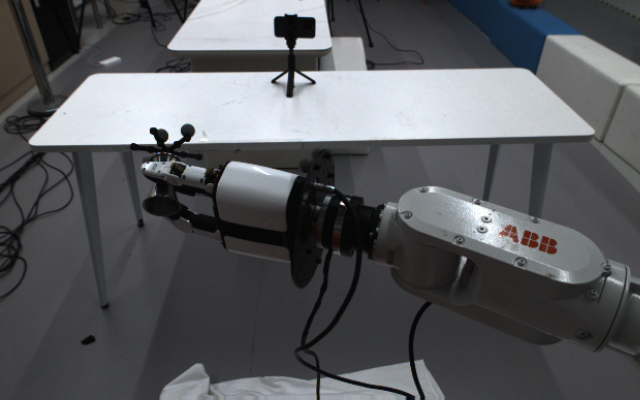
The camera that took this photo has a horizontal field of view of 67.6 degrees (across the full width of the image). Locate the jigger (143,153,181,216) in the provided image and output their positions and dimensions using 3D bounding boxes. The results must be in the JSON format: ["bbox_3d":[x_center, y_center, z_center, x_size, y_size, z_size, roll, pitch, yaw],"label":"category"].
[{"bbox_3d":[-0.191,-0.019,0.595,0.043,0.043,0.071,-3,57,-8],"label":"jigger"}]
